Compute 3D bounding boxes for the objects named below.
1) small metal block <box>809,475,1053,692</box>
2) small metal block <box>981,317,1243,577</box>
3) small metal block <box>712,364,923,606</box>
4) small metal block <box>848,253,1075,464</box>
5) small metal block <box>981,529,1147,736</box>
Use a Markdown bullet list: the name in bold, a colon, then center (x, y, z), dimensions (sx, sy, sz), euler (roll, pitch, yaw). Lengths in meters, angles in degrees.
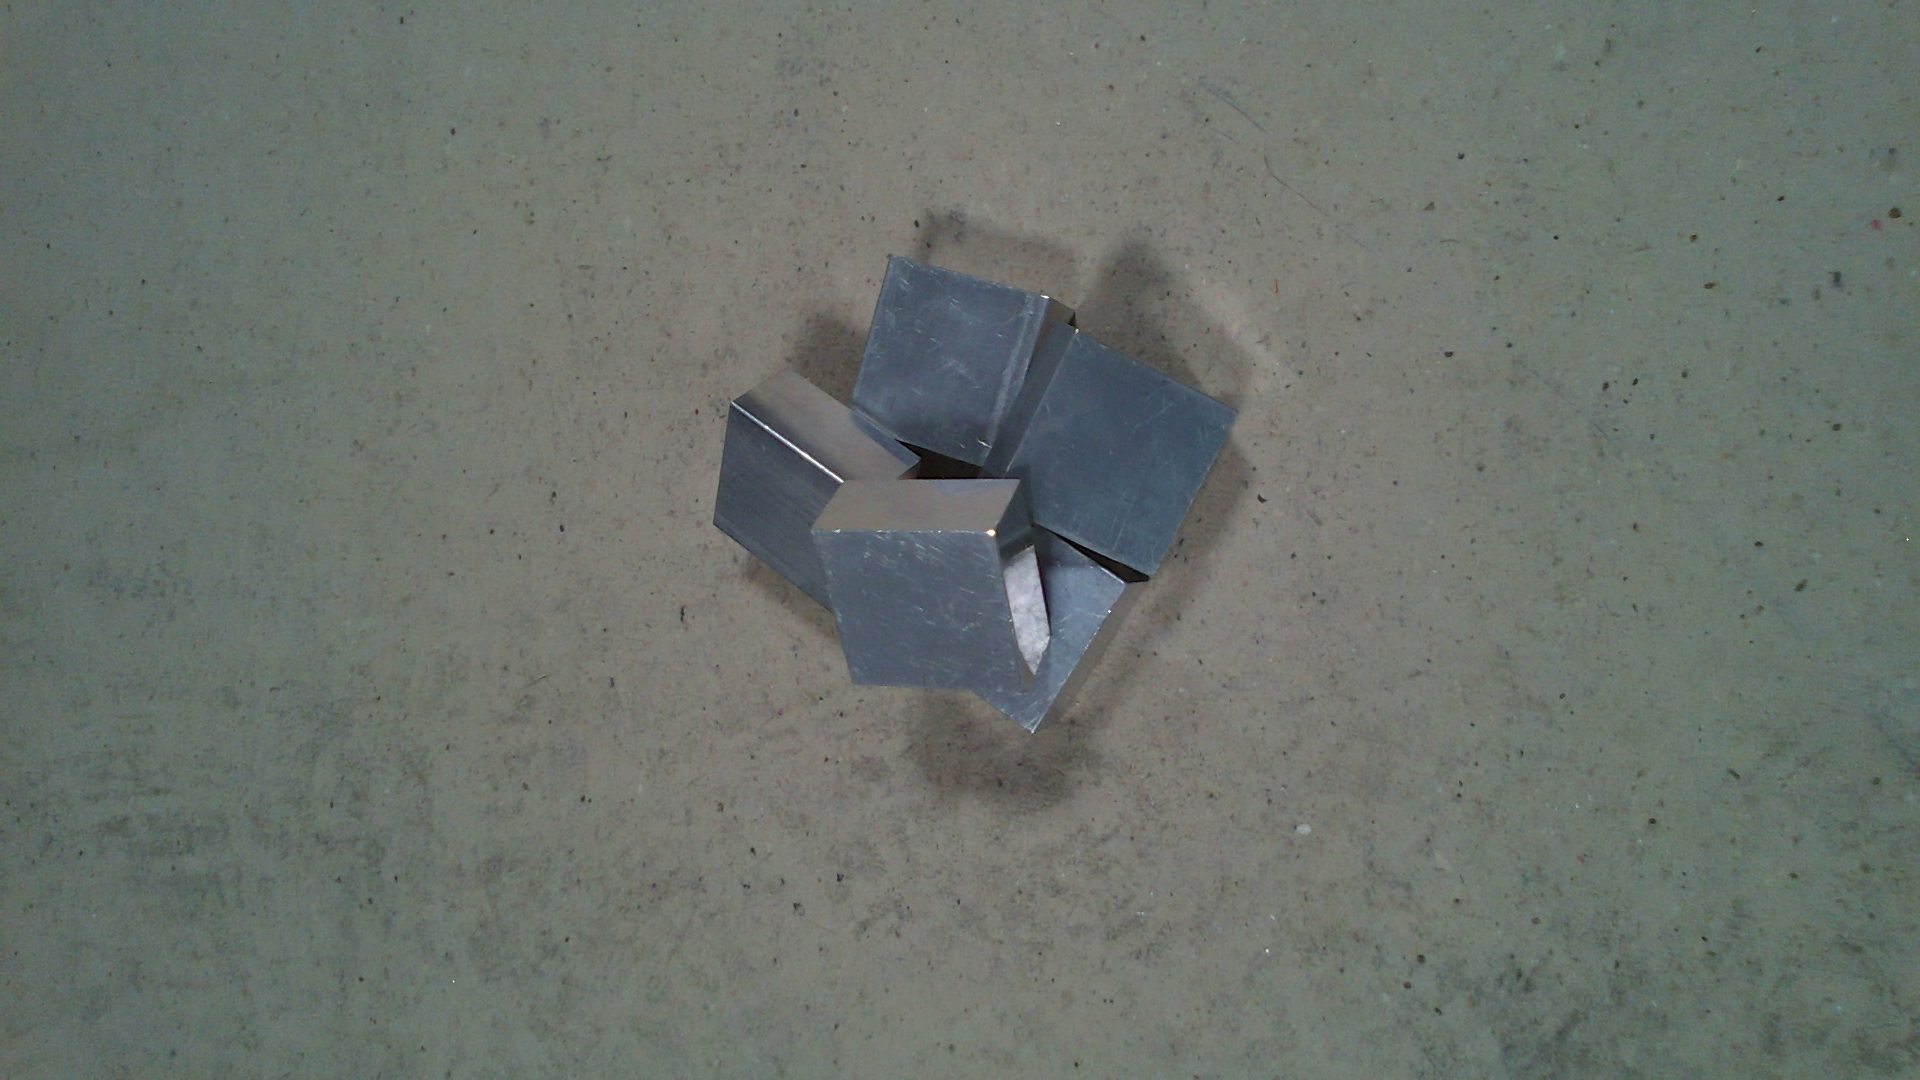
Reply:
- **small metal block**: center (-0.006, 0.011, 0.360), dimensions (0.050, 0.025, 0.050), euler (0, 123, 20)
- **small metal block**: center (0.039, -0.025, 0.370), dimensions (0.050, 0.025, 0.050), euler (24, 100, -15)
- **small metal block**: center (-0.043, -0.014, 0.399), dimensions (0.050, 0.025, 0.050), euler (35, 137, 16)
- **small metal block**: center (0.000, -0.050, 0.397), dimensions (0.050, 0.025, 0.050), euler (18, 96, 19)
- **small metal block**: center (0.017, 0.019, 0.390), dimensions (0.050, 0.025, 0.050), euler (34, 101, 17)
